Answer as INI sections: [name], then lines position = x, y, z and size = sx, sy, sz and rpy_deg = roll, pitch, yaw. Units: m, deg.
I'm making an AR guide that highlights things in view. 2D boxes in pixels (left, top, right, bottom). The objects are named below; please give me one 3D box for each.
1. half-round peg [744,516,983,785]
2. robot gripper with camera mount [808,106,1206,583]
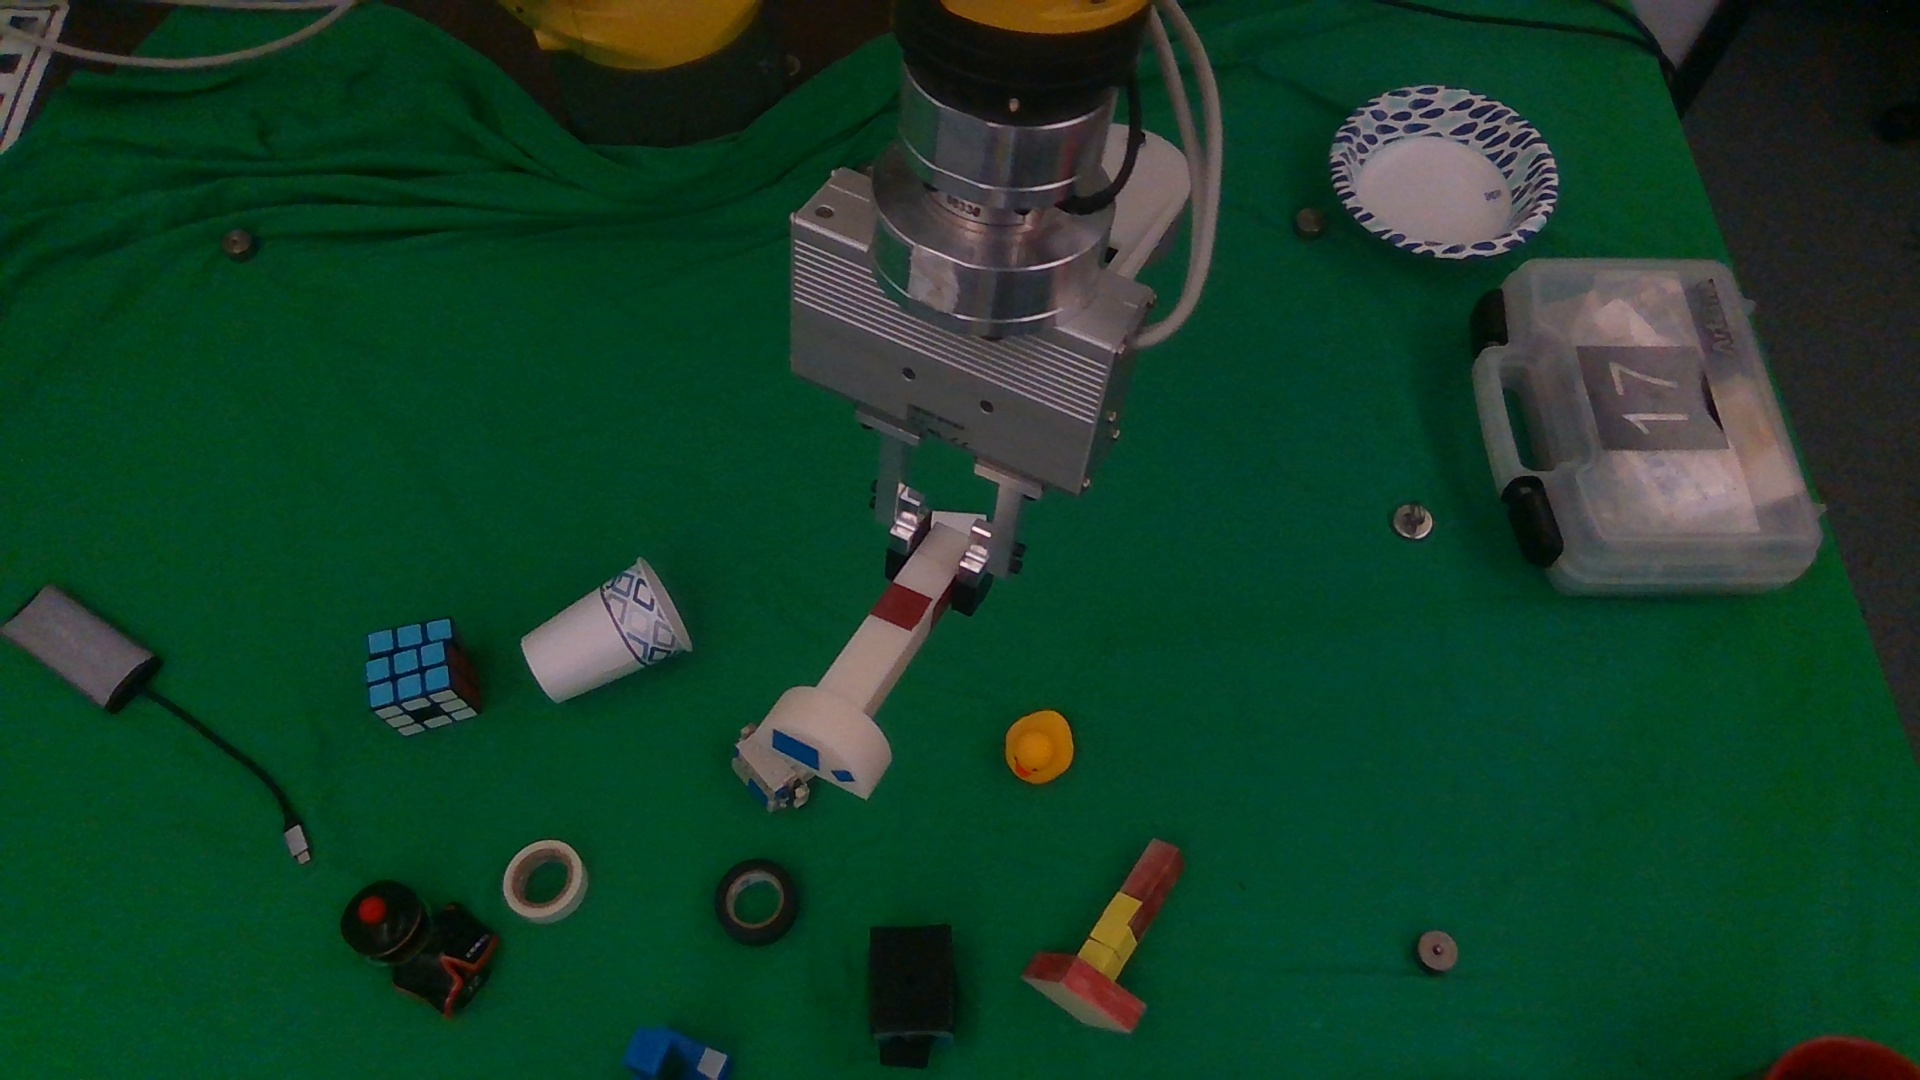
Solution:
[half-round peg]
position = -0.030, 0.036, 0.544
size = 0.054, 0.031, 0.121
rpy_deg = 26, 51, 15
[robot gripper with camera mount]
position = 0.036, -0.099, 0.572
size = 0.119, 0.158, 0.193
rpy_deg = 23, 51, 13
